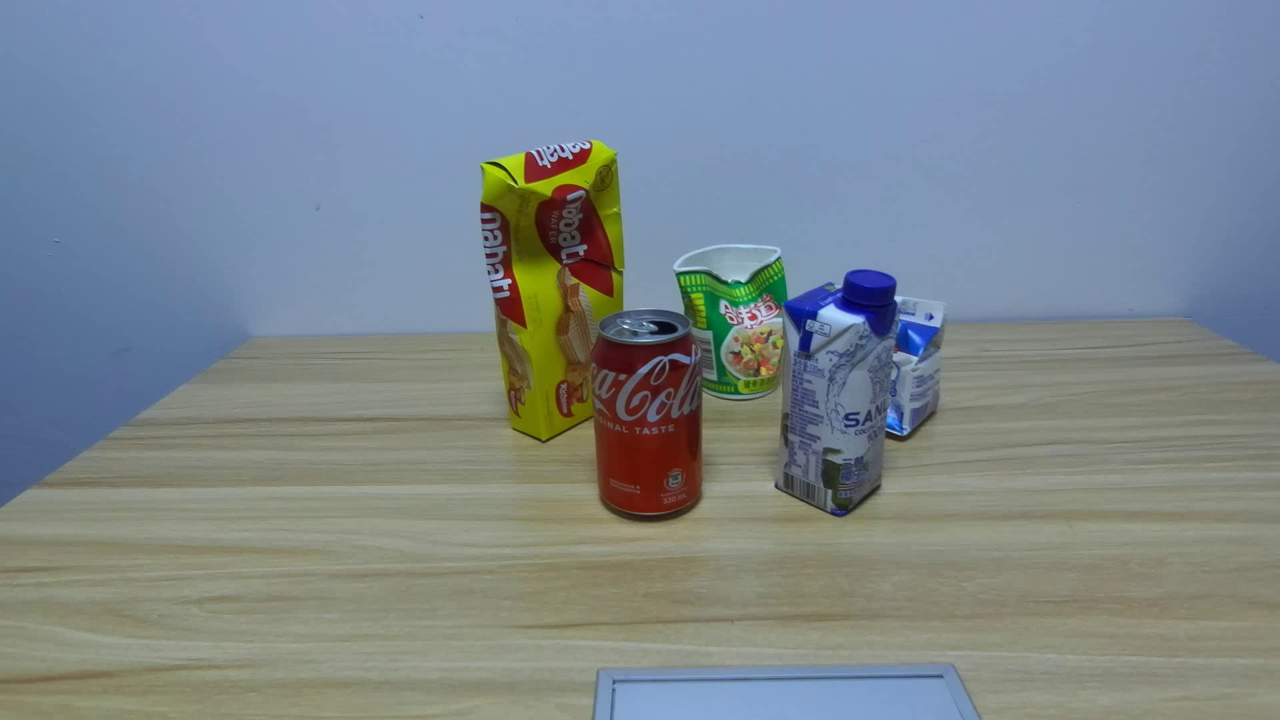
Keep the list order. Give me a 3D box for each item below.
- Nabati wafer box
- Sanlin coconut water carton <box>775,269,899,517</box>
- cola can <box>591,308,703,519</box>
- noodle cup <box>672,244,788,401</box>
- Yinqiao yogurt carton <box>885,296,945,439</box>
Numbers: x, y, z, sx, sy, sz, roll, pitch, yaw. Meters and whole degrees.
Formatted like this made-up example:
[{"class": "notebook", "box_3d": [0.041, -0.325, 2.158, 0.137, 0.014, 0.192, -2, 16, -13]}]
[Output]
[{"class": "Nabati wafer box", "box_3d": [-0.060, -0.049, 0.516, 0.042, 0.204, 0.107, 19, 31, 38]}, {"class": "Sanlin coconut water carton", "box_3d": [0.119, 0.017, 0.425, 0.060, 0.144, 0.061, 18, 31, 41]}, {"class": "cola can", "box_3d": [0.005, 0.032, 0.430, 0.068, 0.120, 0.068, -2, 23, 1]}, {"class": "noodle cup", "box_3d": [0.081, -0.032, 0.584, 0.082, 0.122, 0.075, -8, 14, 12]}, {"class": "Yinqiao yogurt carton", "box_3d": [0.183, -0.002, 0.530, 0.077, 0.094, 0.071, 16, 23, 35]}]
